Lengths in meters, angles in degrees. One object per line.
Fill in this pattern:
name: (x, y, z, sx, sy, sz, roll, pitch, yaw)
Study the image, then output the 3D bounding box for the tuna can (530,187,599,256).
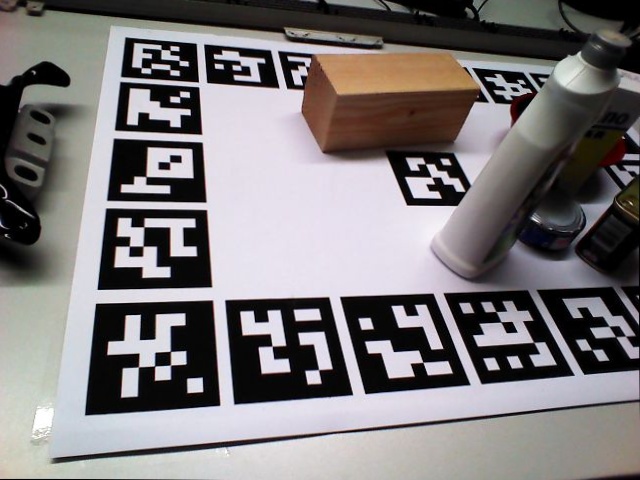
tuna can: (0.278, -0.024, 0.609, 0.086, 0.034, 0.085, 6, 51, -8)

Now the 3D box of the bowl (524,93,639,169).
bowl: (0.354, -0.138, 0.717, 0.162, 0.055, 0.160, 4, 49, -5)

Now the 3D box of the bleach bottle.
bleach bottle: (0.205, -0.073, 0.492, 0.102, 0.252, 0.068, -23, 57, -29)

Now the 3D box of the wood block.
wood block: (0.098, -0.180, 0.673, 0.206, 0.090, 0.090, -8, 56, -21)

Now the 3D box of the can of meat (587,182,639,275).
can of meat: (0.368, -0.017, 0.600, 0.101, 0.084, 0.058, -27, 57, -33)

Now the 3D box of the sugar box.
sugar box: (0.302, -0.116, 0.600, 0.093, 0.177, 0.045, 13, 50, 3)
